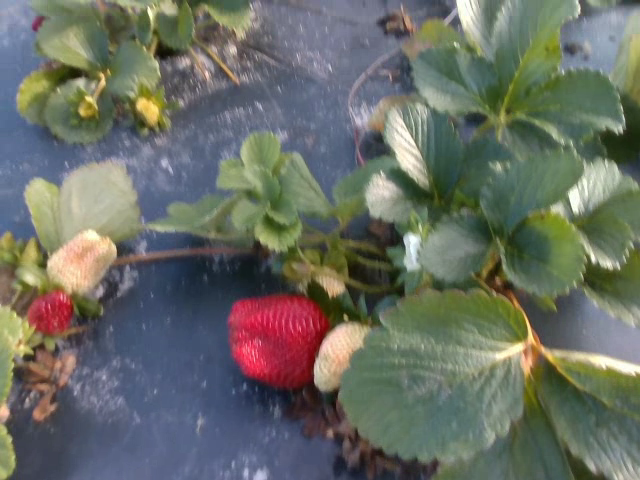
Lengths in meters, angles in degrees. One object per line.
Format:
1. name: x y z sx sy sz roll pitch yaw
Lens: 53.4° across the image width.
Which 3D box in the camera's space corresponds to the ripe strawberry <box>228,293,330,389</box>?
1. ripe strawberry: -0.028 0.058 0.368 0.070 0.058 0.057 18 -4 -30
